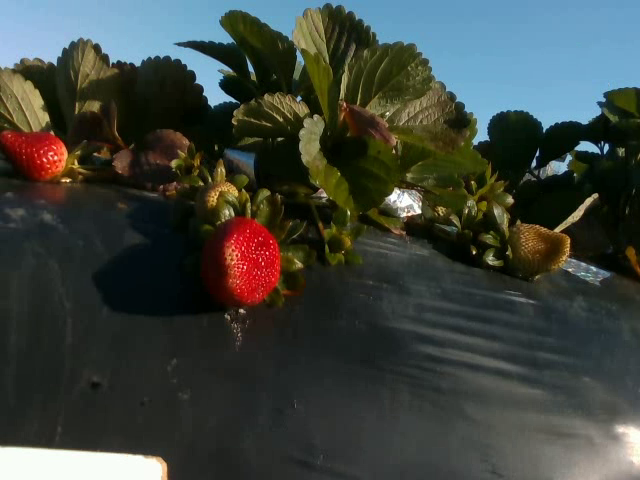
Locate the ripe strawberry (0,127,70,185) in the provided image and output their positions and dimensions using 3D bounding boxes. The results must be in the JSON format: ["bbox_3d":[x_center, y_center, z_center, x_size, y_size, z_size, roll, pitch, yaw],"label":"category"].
[{"bbox_3d":[-0.164,-0.051,0.350,0.046,0.035,0.034,21,23,-26],"label":"ripe strawberry"}]

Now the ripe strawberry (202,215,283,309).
[{"bbox_3d":[-0.037,0.012,0.265,0.042,0.042,0.059,25,13,-4],"label":"ripe strawberry"}]
